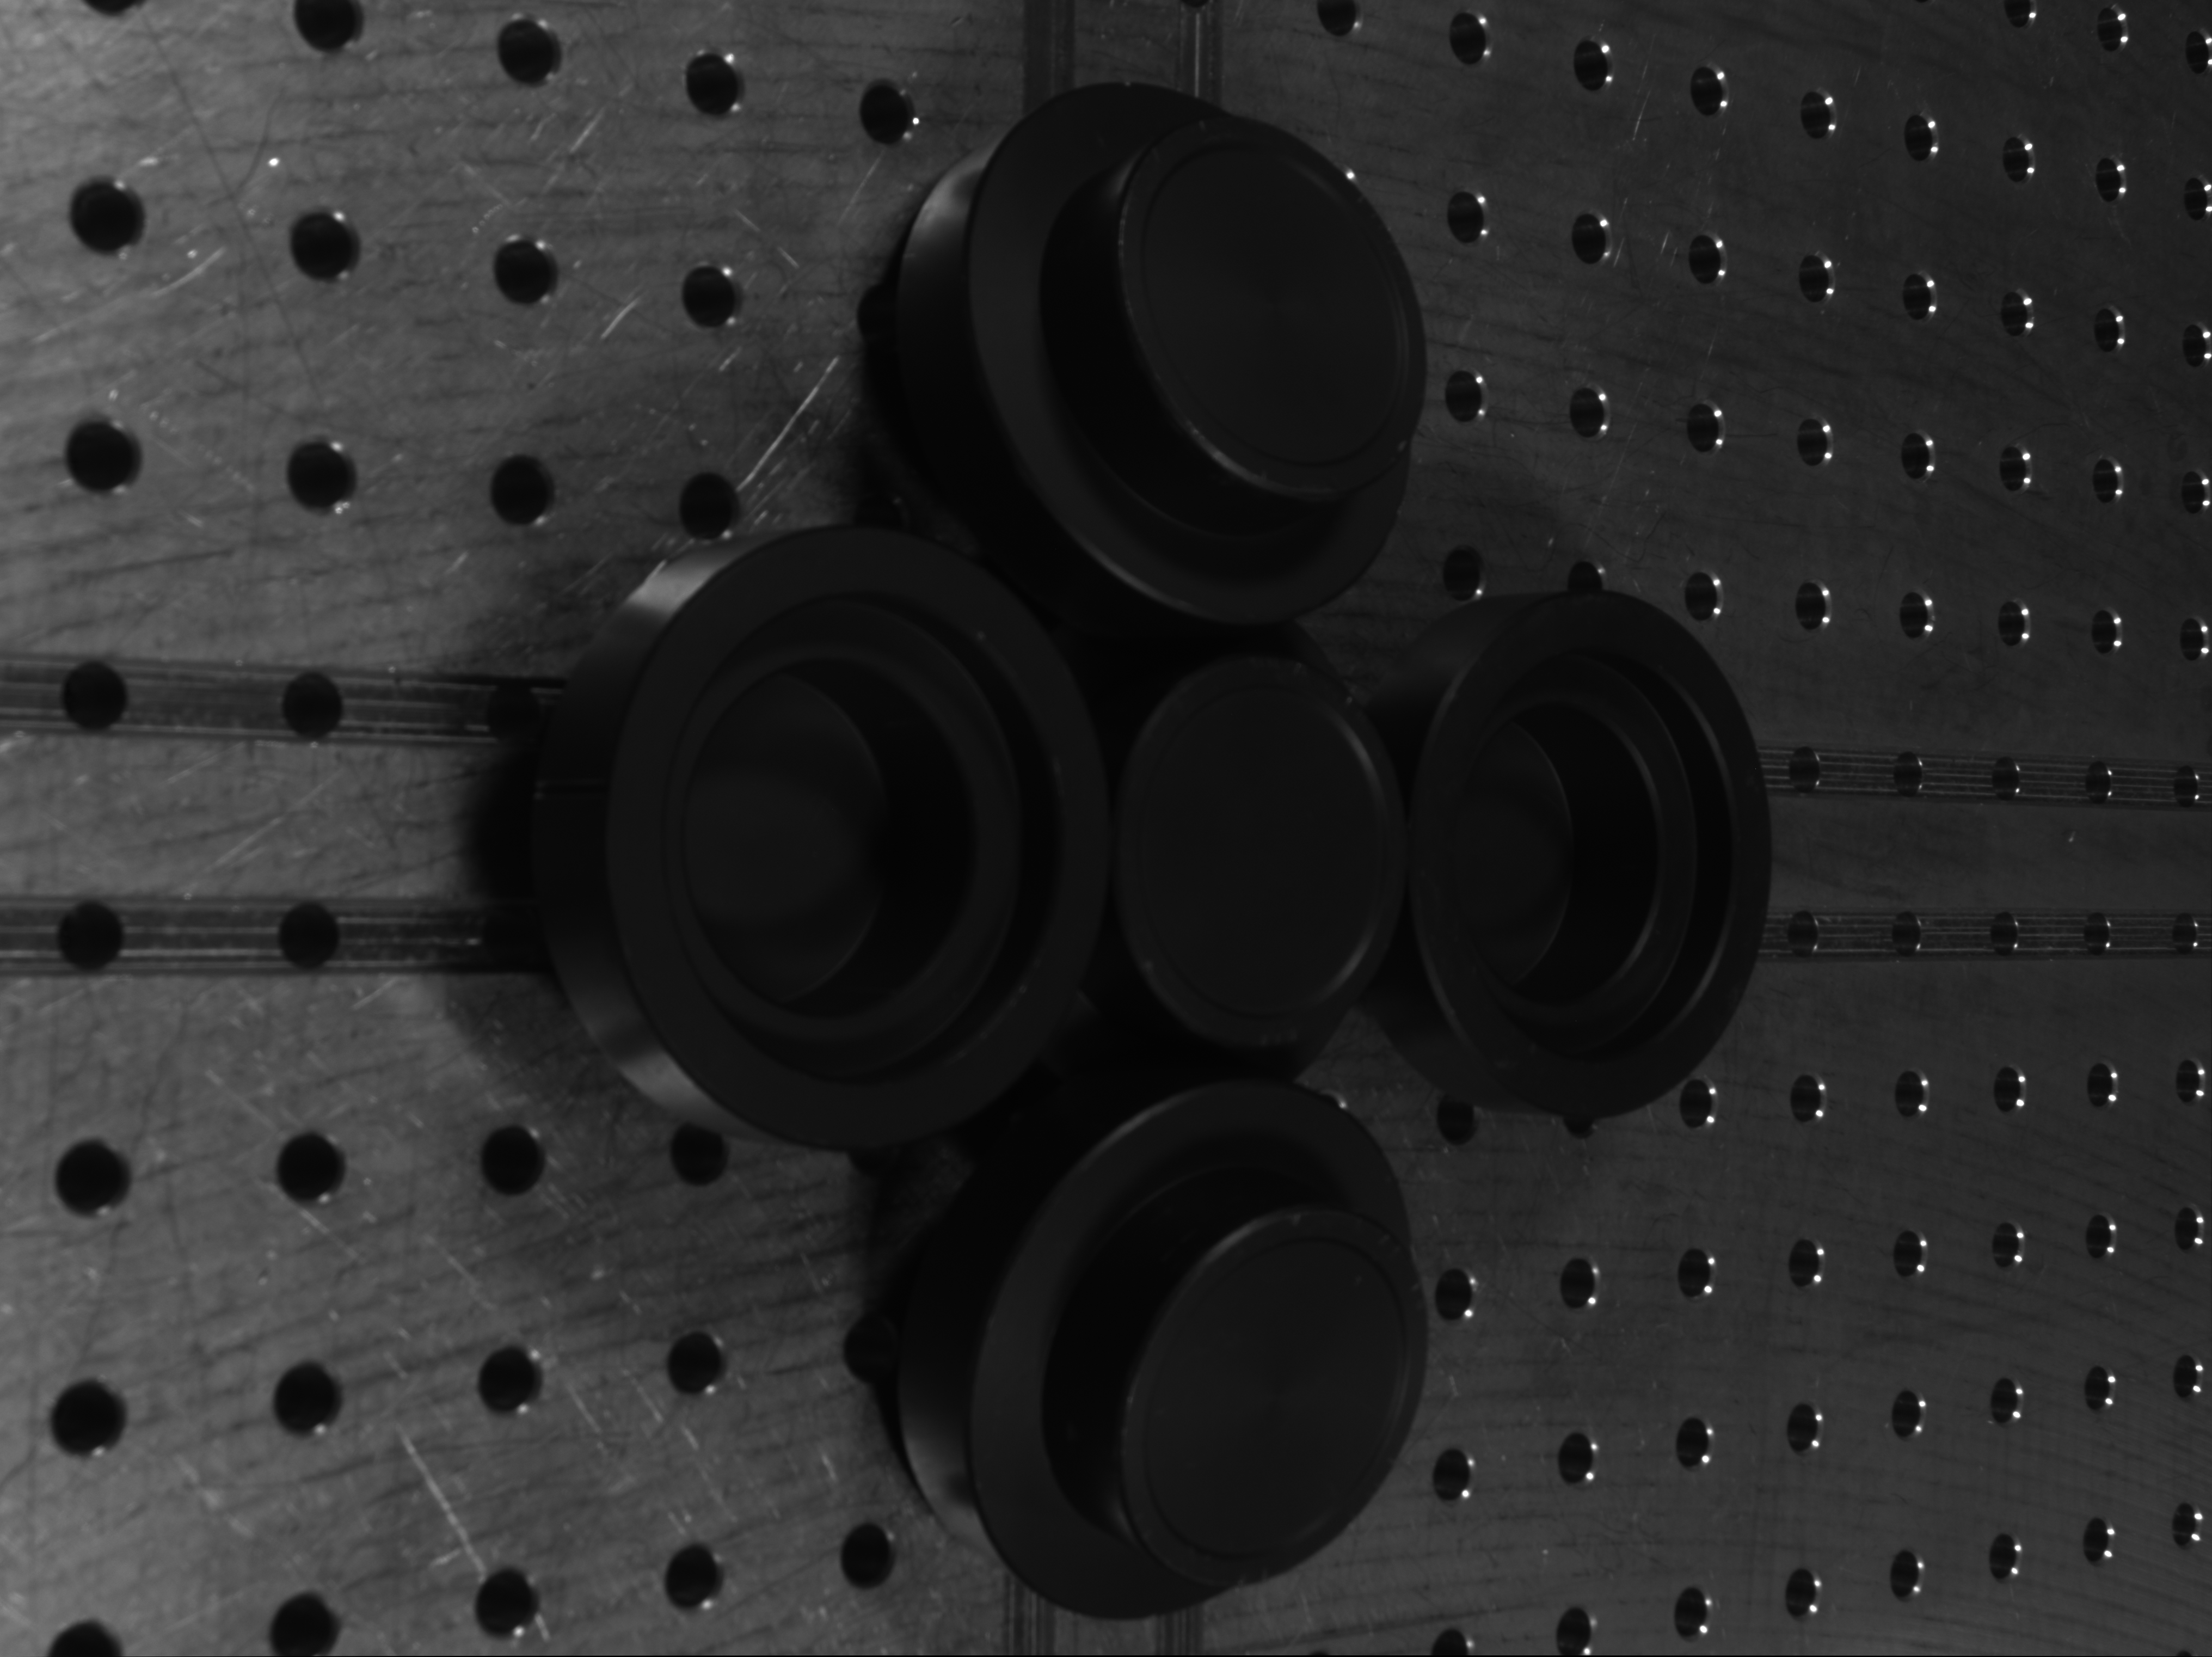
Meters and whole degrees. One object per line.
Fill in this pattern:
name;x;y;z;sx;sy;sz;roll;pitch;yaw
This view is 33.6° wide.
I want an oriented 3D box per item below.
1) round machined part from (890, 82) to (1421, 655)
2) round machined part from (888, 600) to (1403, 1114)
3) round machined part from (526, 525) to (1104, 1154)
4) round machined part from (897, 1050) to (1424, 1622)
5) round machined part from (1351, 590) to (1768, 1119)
round machined part;0.015;-0.082;0.627;0.098;0.042;0.098;13;68;-35
round machined part;0.013;0.004;0.639;0.098;0.042;0.098;0;90;-40
round machined part;-0.051;0.002;0.586;0.098;0.042;0.098;0;90;-40
round machined part;0.016;0.091;0.627;0.098;0.042;0.098;-14;113;-36
round machined part;0.078;0.005;0.693;0.098;0.042;0.098;0;90;-40
